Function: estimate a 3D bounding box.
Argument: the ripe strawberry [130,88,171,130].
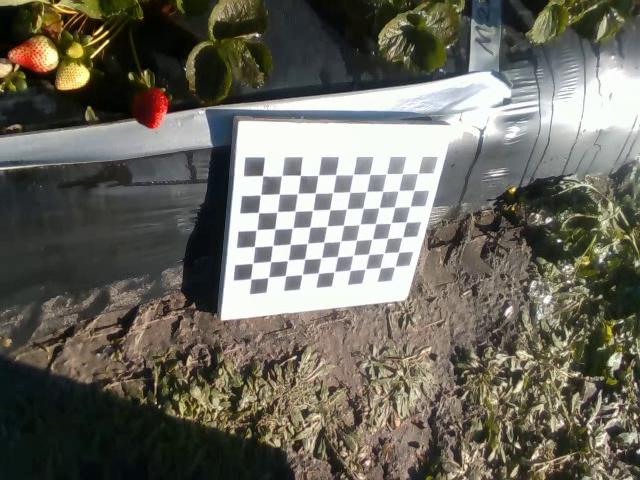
[{"bbox_3d":[-0.144,-0.108,0.519,0.036,0.038,0.046,-4,45,-20],"label":"ripe strawberry"}]
